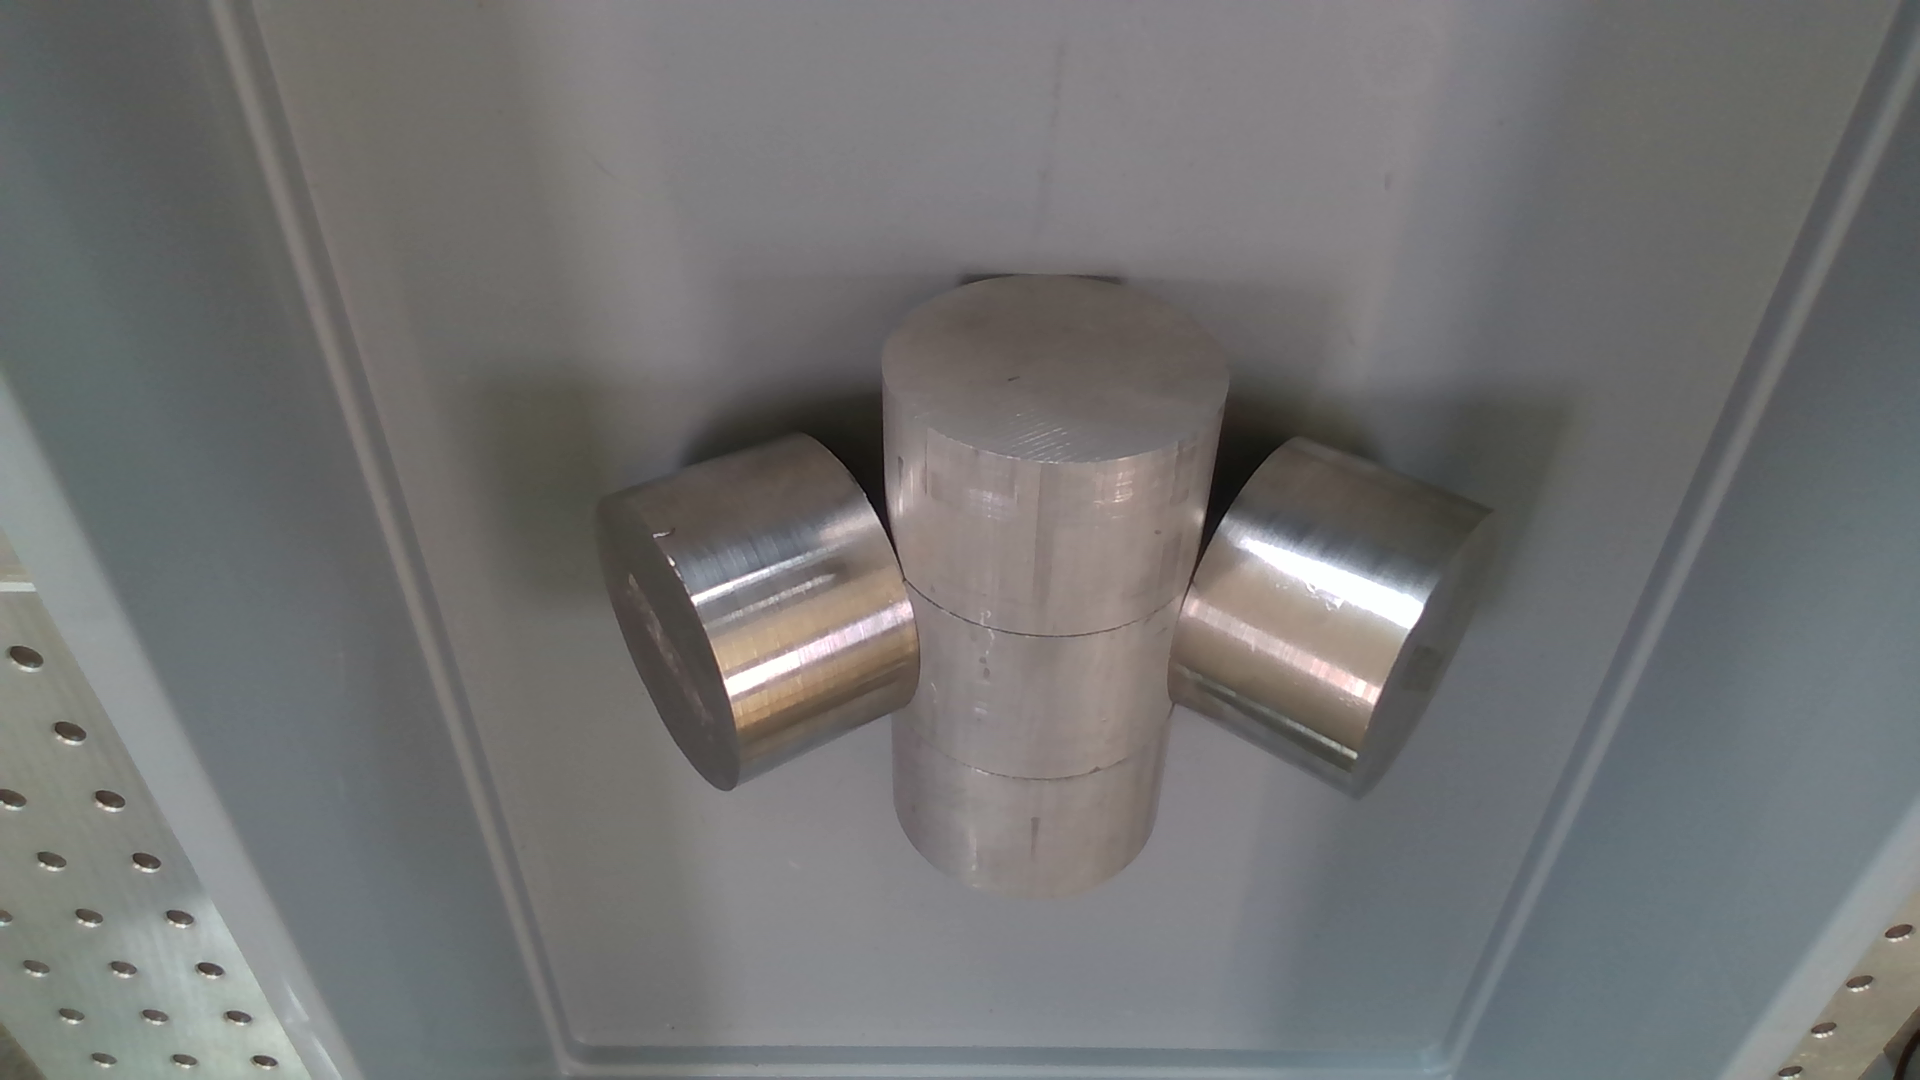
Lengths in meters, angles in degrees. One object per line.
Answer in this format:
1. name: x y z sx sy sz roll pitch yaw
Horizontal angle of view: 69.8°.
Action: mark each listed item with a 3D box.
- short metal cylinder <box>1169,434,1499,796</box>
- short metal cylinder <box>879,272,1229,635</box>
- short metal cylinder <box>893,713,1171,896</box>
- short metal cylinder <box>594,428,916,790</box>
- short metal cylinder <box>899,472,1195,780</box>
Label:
1. short metal cylinder: 0.097 0.019 0.358 0.050 0.080 0.080 28 136 27
2. short metal cylinder: 0.021 -0.023 0.333 0.080 0.080 0.050 1 130 -1
3. short metal cylinder: 0.020 0.054 0.398 0.080 0.080 0.050 1 130 -1
4. short metal cylinder: -0.054 0.017 0.357 0.050 0.080 0.080 -24 136 -26
5. short metal cylinder: 0.020 0.016 0.365 0.080 0.080 0.050 1 130 -1
